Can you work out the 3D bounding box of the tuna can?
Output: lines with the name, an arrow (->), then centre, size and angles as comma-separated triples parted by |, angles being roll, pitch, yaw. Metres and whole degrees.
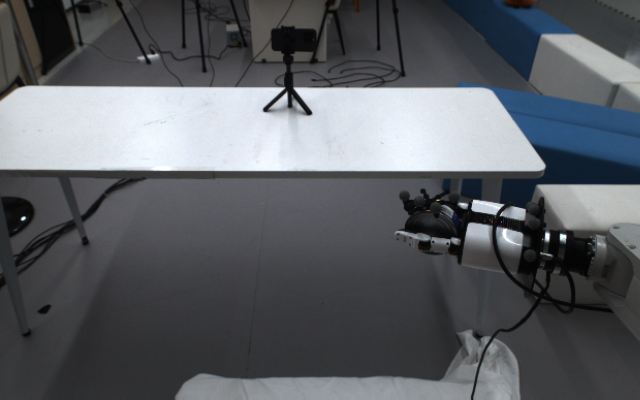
tuna can -> 0.185, 0.043, 0.788 | 0.085, 0.085, 0.034 | 17, 37, 20
